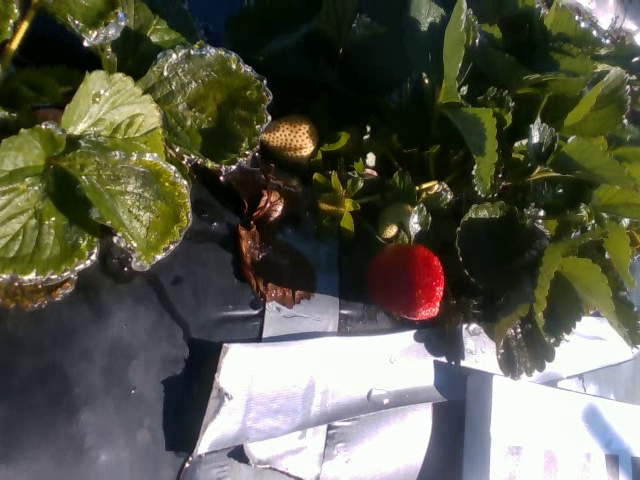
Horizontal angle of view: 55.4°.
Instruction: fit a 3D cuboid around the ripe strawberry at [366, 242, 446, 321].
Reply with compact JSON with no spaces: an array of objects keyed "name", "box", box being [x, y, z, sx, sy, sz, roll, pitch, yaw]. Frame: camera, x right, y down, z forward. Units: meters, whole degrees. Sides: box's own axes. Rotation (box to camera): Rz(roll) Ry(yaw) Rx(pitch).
[{"name":"ripe strawberry","box":[0.061,0.035,0.377,0.058,0.062,0.065,-33,24,8]}]
